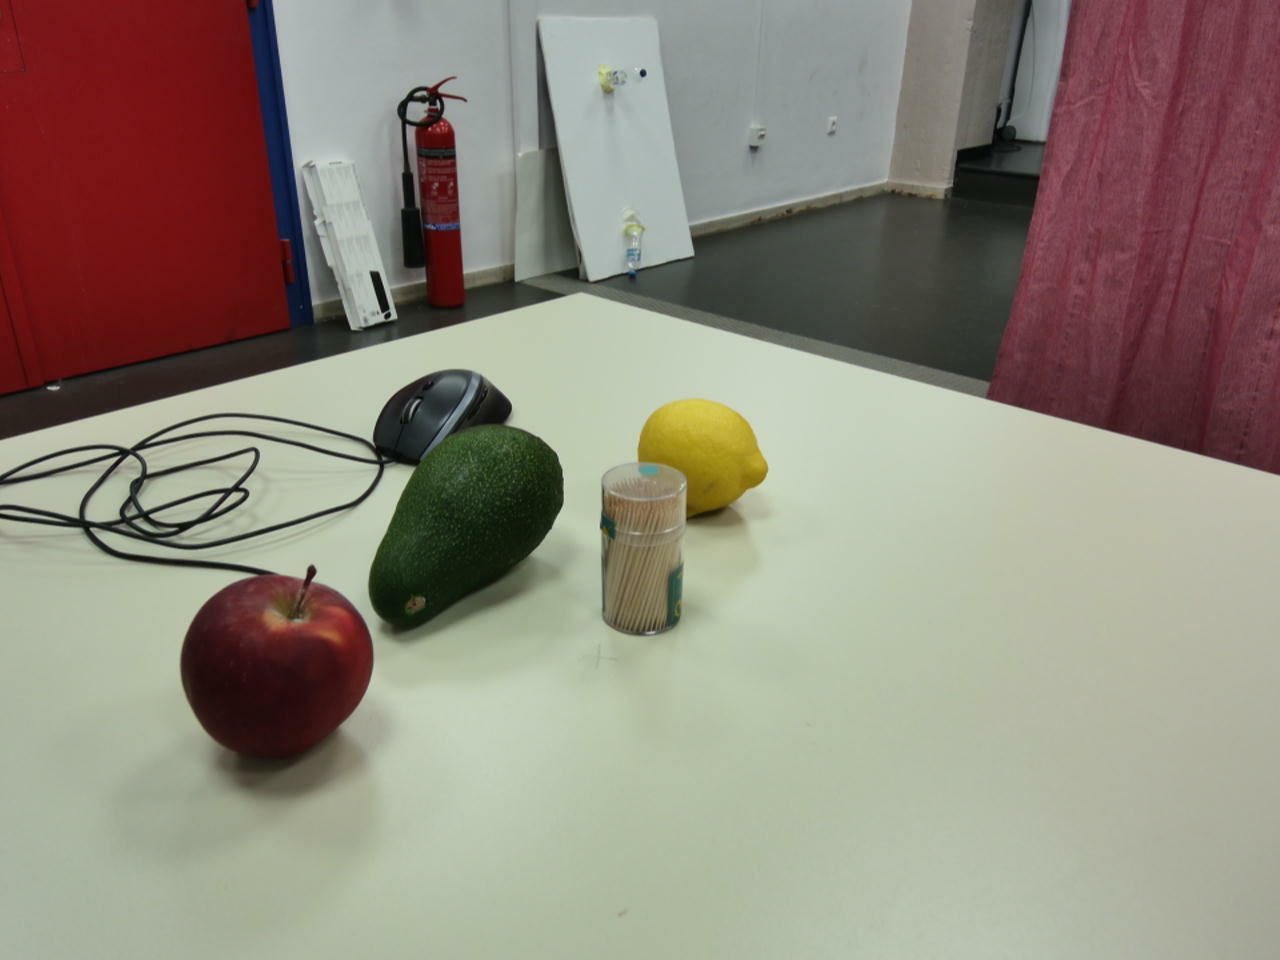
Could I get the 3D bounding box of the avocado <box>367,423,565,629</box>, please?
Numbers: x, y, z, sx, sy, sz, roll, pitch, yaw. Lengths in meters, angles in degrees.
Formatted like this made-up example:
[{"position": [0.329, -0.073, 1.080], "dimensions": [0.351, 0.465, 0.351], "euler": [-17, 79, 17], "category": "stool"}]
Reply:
[{"position": [-0.091, 0.015, 0.499], "dimensions": [0.123, 0.076, 0.074], "euler": [-20, 32, -39], "category": "avocado"}]
